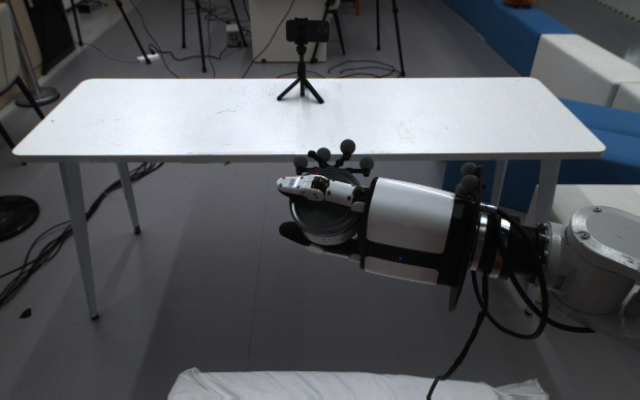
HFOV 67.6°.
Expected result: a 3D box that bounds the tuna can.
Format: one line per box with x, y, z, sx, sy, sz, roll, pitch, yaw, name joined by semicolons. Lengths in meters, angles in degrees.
0.011;0.007;0.554;0.085;0.034;0.085;-4;61;7;tuna can
